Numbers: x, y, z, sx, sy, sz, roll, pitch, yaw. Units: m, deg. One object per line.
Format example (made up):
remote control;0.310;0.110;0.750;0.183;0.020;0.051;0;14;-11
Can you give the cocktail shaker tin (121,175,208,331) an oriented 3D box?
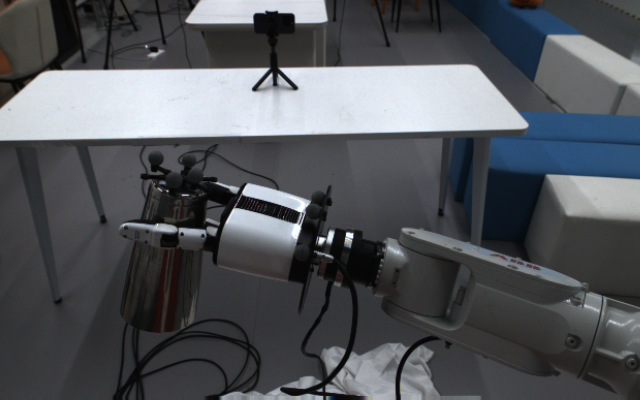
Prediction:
cocktail shaker tin;-0.180;0.061;0.582;0.093;0.170;0.093;14;18;-5
